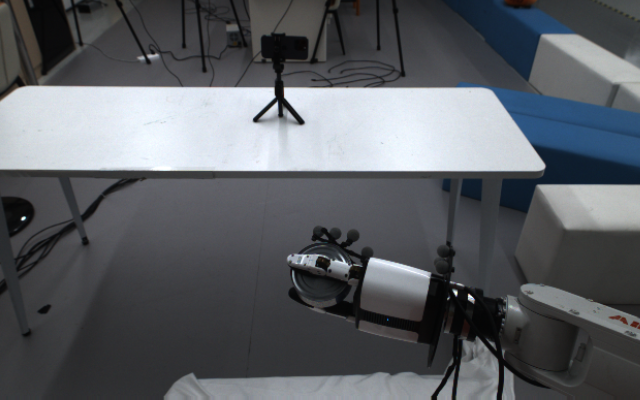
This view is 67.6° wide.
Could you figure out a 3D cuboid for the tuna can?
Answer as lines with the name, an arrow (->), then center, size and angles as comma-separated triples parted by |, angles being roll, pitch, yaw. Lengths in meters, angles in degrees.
tuna can -> 0.005, 0.104, 0.672 | 0.085, 0.034, 0.085 | -4, 56, 6
